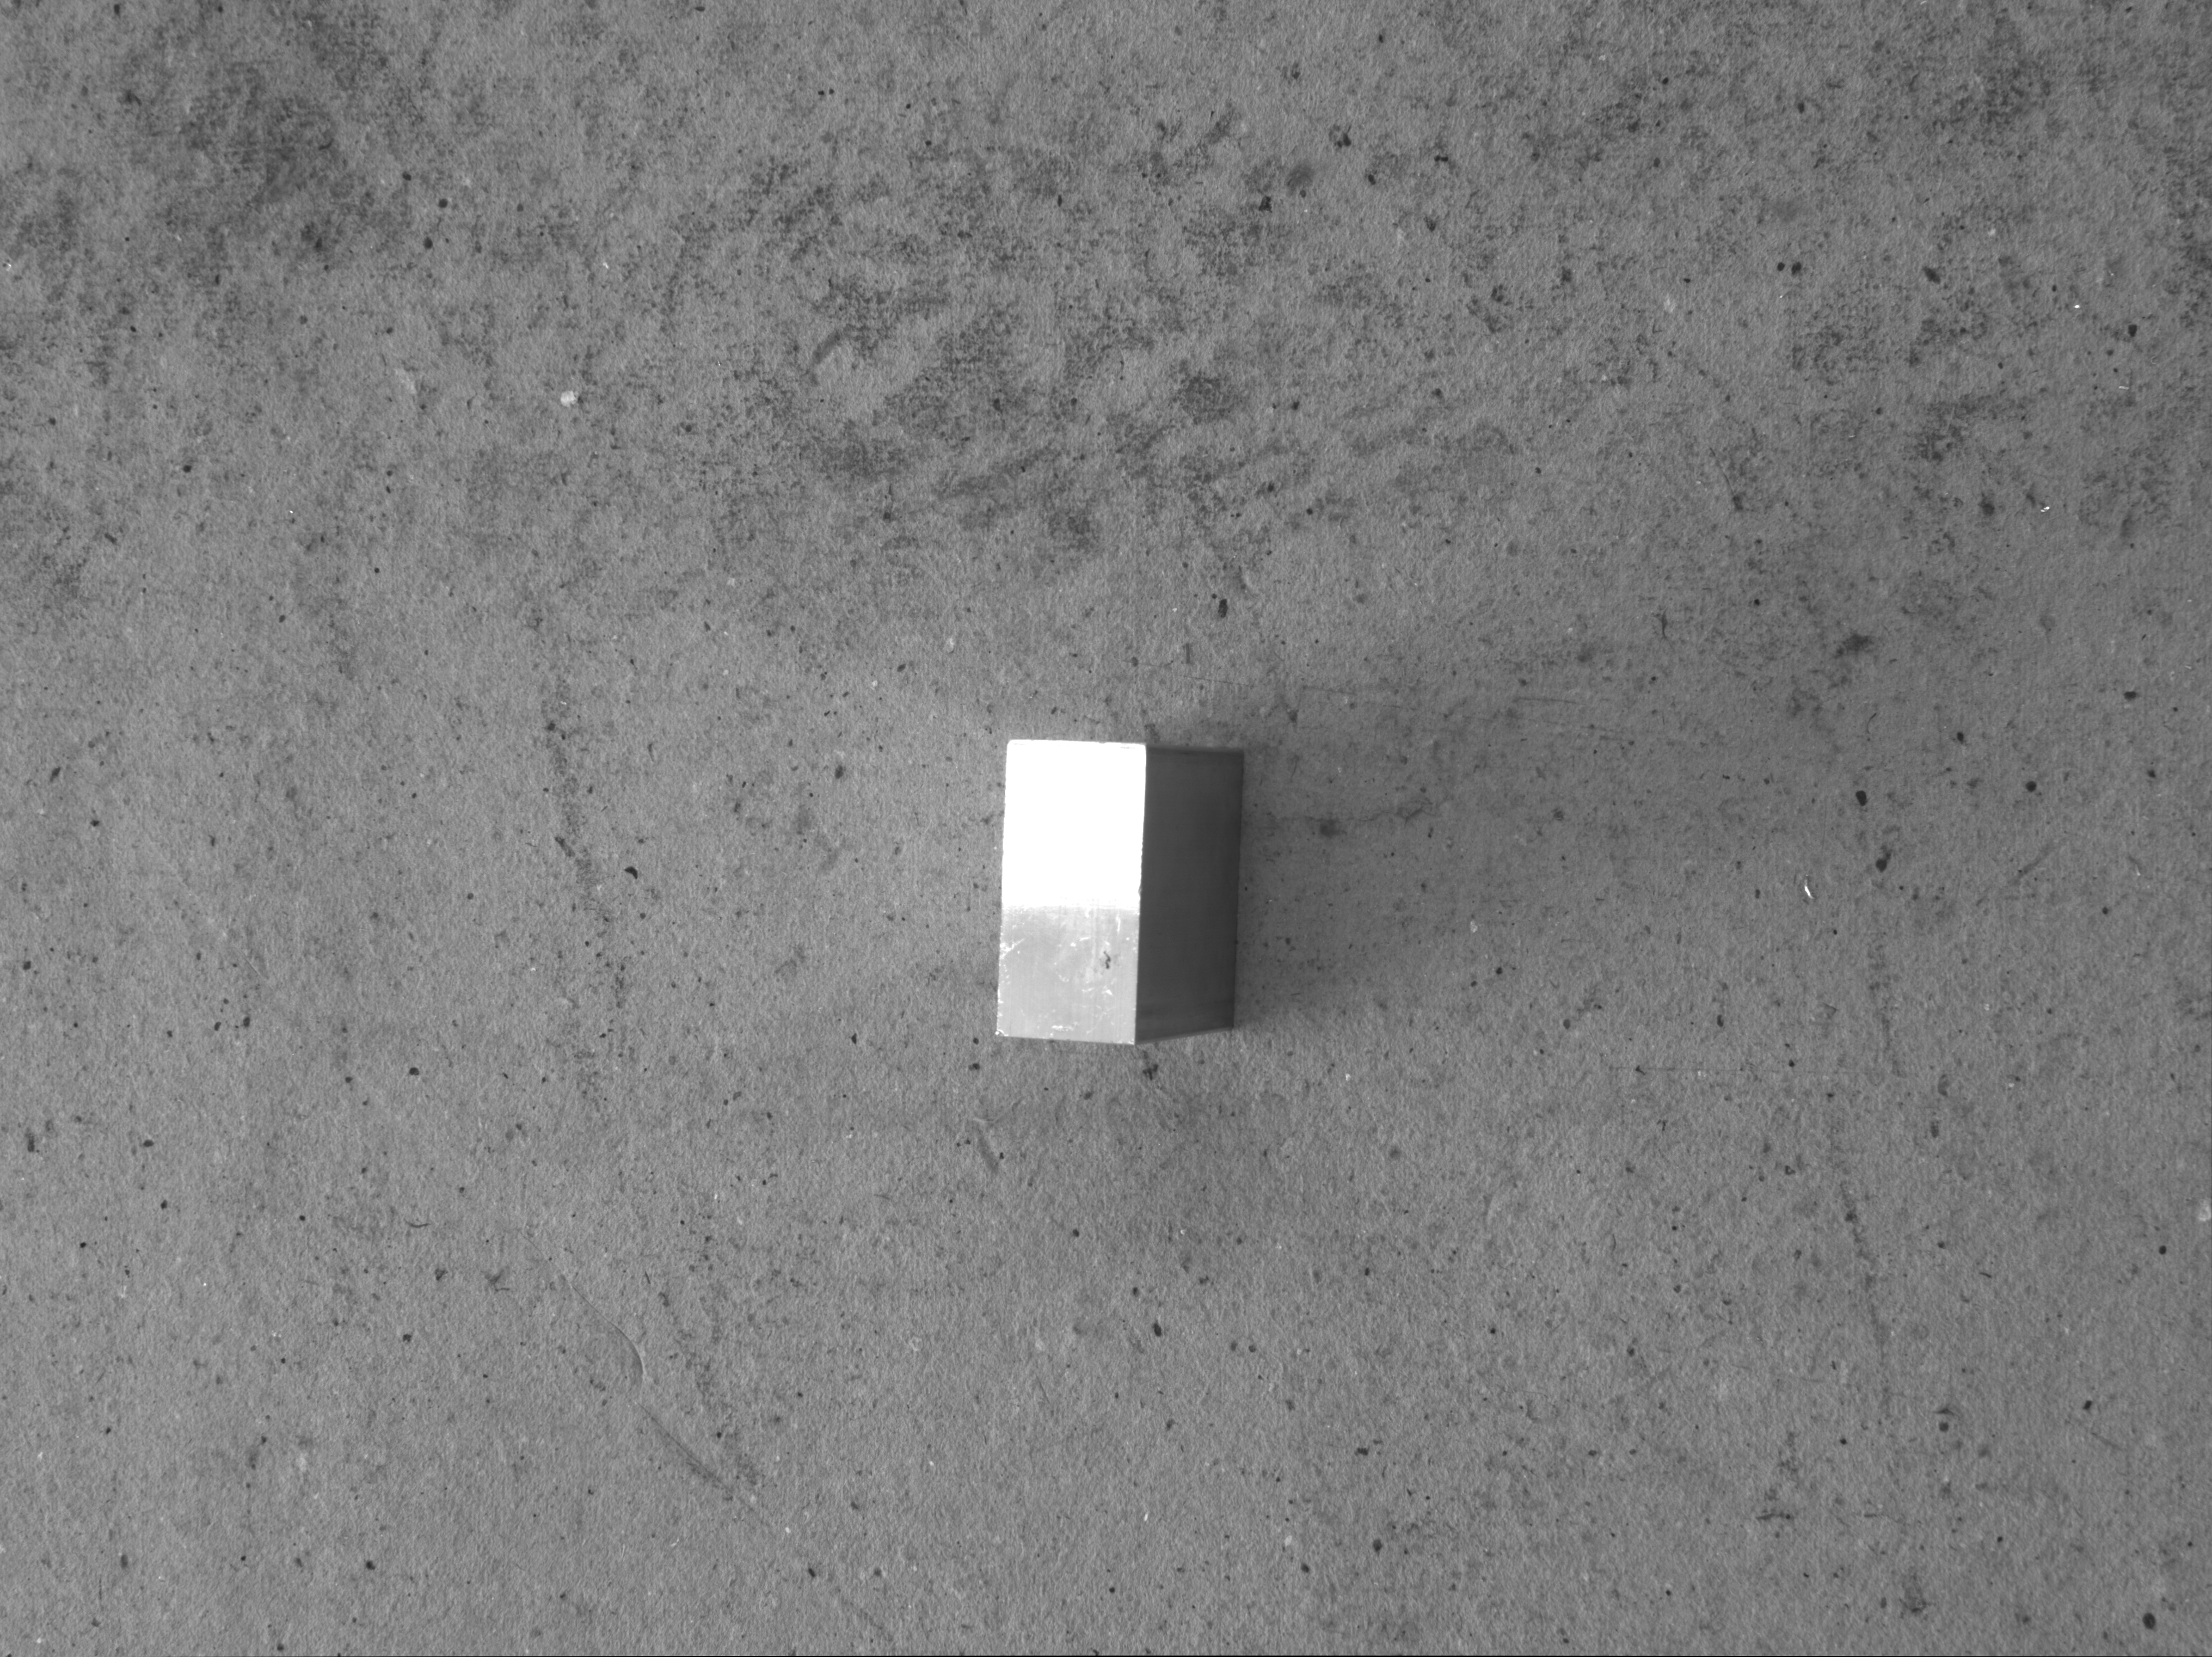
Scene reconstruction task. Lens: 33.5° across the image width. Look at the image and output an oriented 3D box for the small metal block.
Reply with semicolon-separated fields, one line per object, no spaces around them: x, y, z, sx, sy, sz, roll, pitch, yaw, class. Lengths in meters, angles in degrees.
0.002;0.011;0.633;0.025;0.050;0.050;2;91;19;small metal block
